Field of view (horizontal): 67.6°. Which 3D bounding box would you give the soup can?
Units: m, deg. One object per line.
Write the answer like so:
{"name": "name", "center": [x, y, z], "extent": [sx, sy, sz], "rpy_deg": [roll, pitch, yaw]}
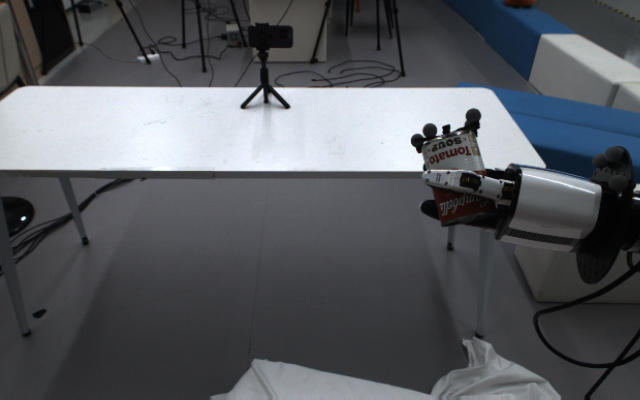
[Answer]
{"name": "soup can", "center": [0.171, -0.027, 0.589], "extent": [0.067, 0.067, 0.101], "rpy_deg": [-11, 80, -19]}
